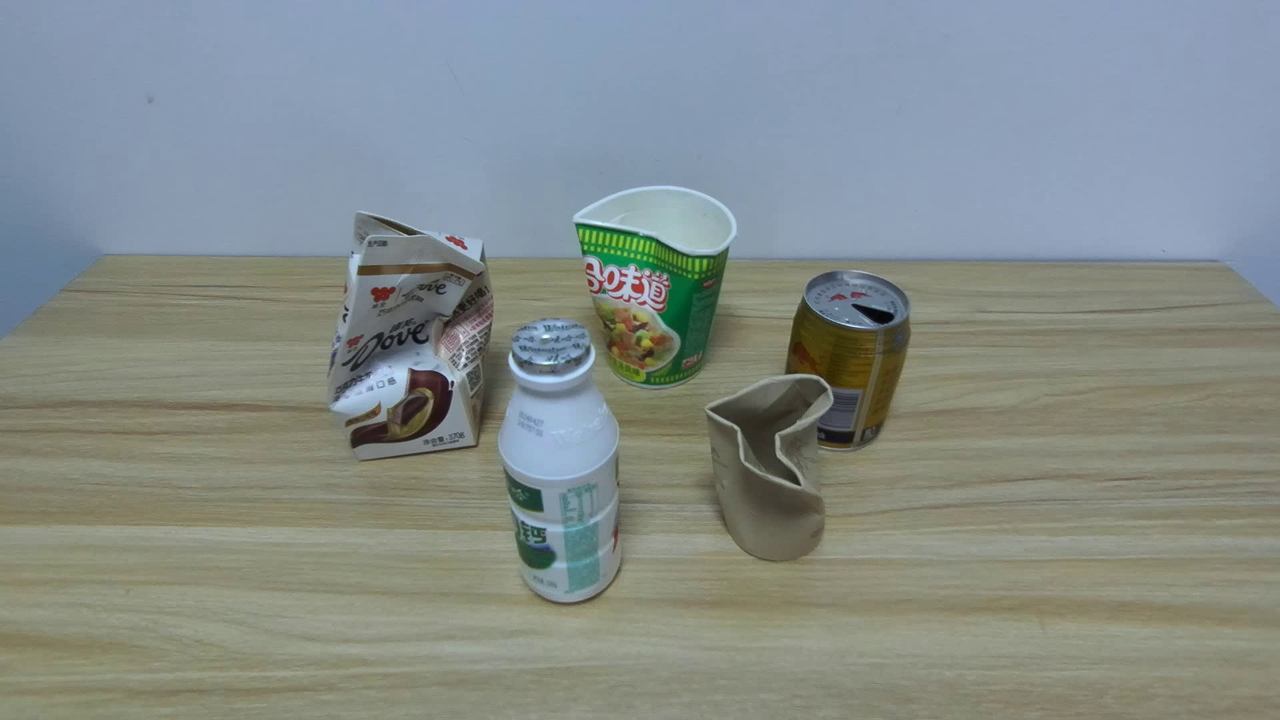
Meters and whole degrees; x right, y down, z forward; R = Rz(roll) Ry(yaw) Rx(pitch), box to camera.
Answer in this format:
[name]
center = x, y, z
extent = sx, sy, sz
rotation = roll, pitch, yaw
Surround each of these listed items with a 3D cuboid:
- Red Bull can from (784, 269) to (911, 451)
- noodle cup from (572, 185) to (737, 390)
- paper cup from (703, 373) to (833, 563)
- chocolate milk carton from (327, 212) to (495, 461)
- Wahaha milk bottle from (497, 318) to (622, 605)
[Red Bull can]
center = 0.120, 0.001, 0.422
extent = 0.068, 0.093, 0.068
rotation = 1, 39, 0
[noodle cup]
center = 0.015, -0.044, 0.462
extent = 0.087, 0.109, 0.093
rotation = -27, 45, -30
[paper cup]
center = 0.073, 0.059, 0.356
extent = 0.067, 0.083, 0.058
rotation = -20, 46, -21
[chocolate milk carton]
center = -0.130, -0.018, 0.409
extent = 0.089, 0.155, 0.076
rotation = 2, 42, -20
[Wahaha milk bottle]
center = -0.043, 0.048, 0.379
extent = 0.053, 0.147, 0.053
rotation = 2, 76, -6
